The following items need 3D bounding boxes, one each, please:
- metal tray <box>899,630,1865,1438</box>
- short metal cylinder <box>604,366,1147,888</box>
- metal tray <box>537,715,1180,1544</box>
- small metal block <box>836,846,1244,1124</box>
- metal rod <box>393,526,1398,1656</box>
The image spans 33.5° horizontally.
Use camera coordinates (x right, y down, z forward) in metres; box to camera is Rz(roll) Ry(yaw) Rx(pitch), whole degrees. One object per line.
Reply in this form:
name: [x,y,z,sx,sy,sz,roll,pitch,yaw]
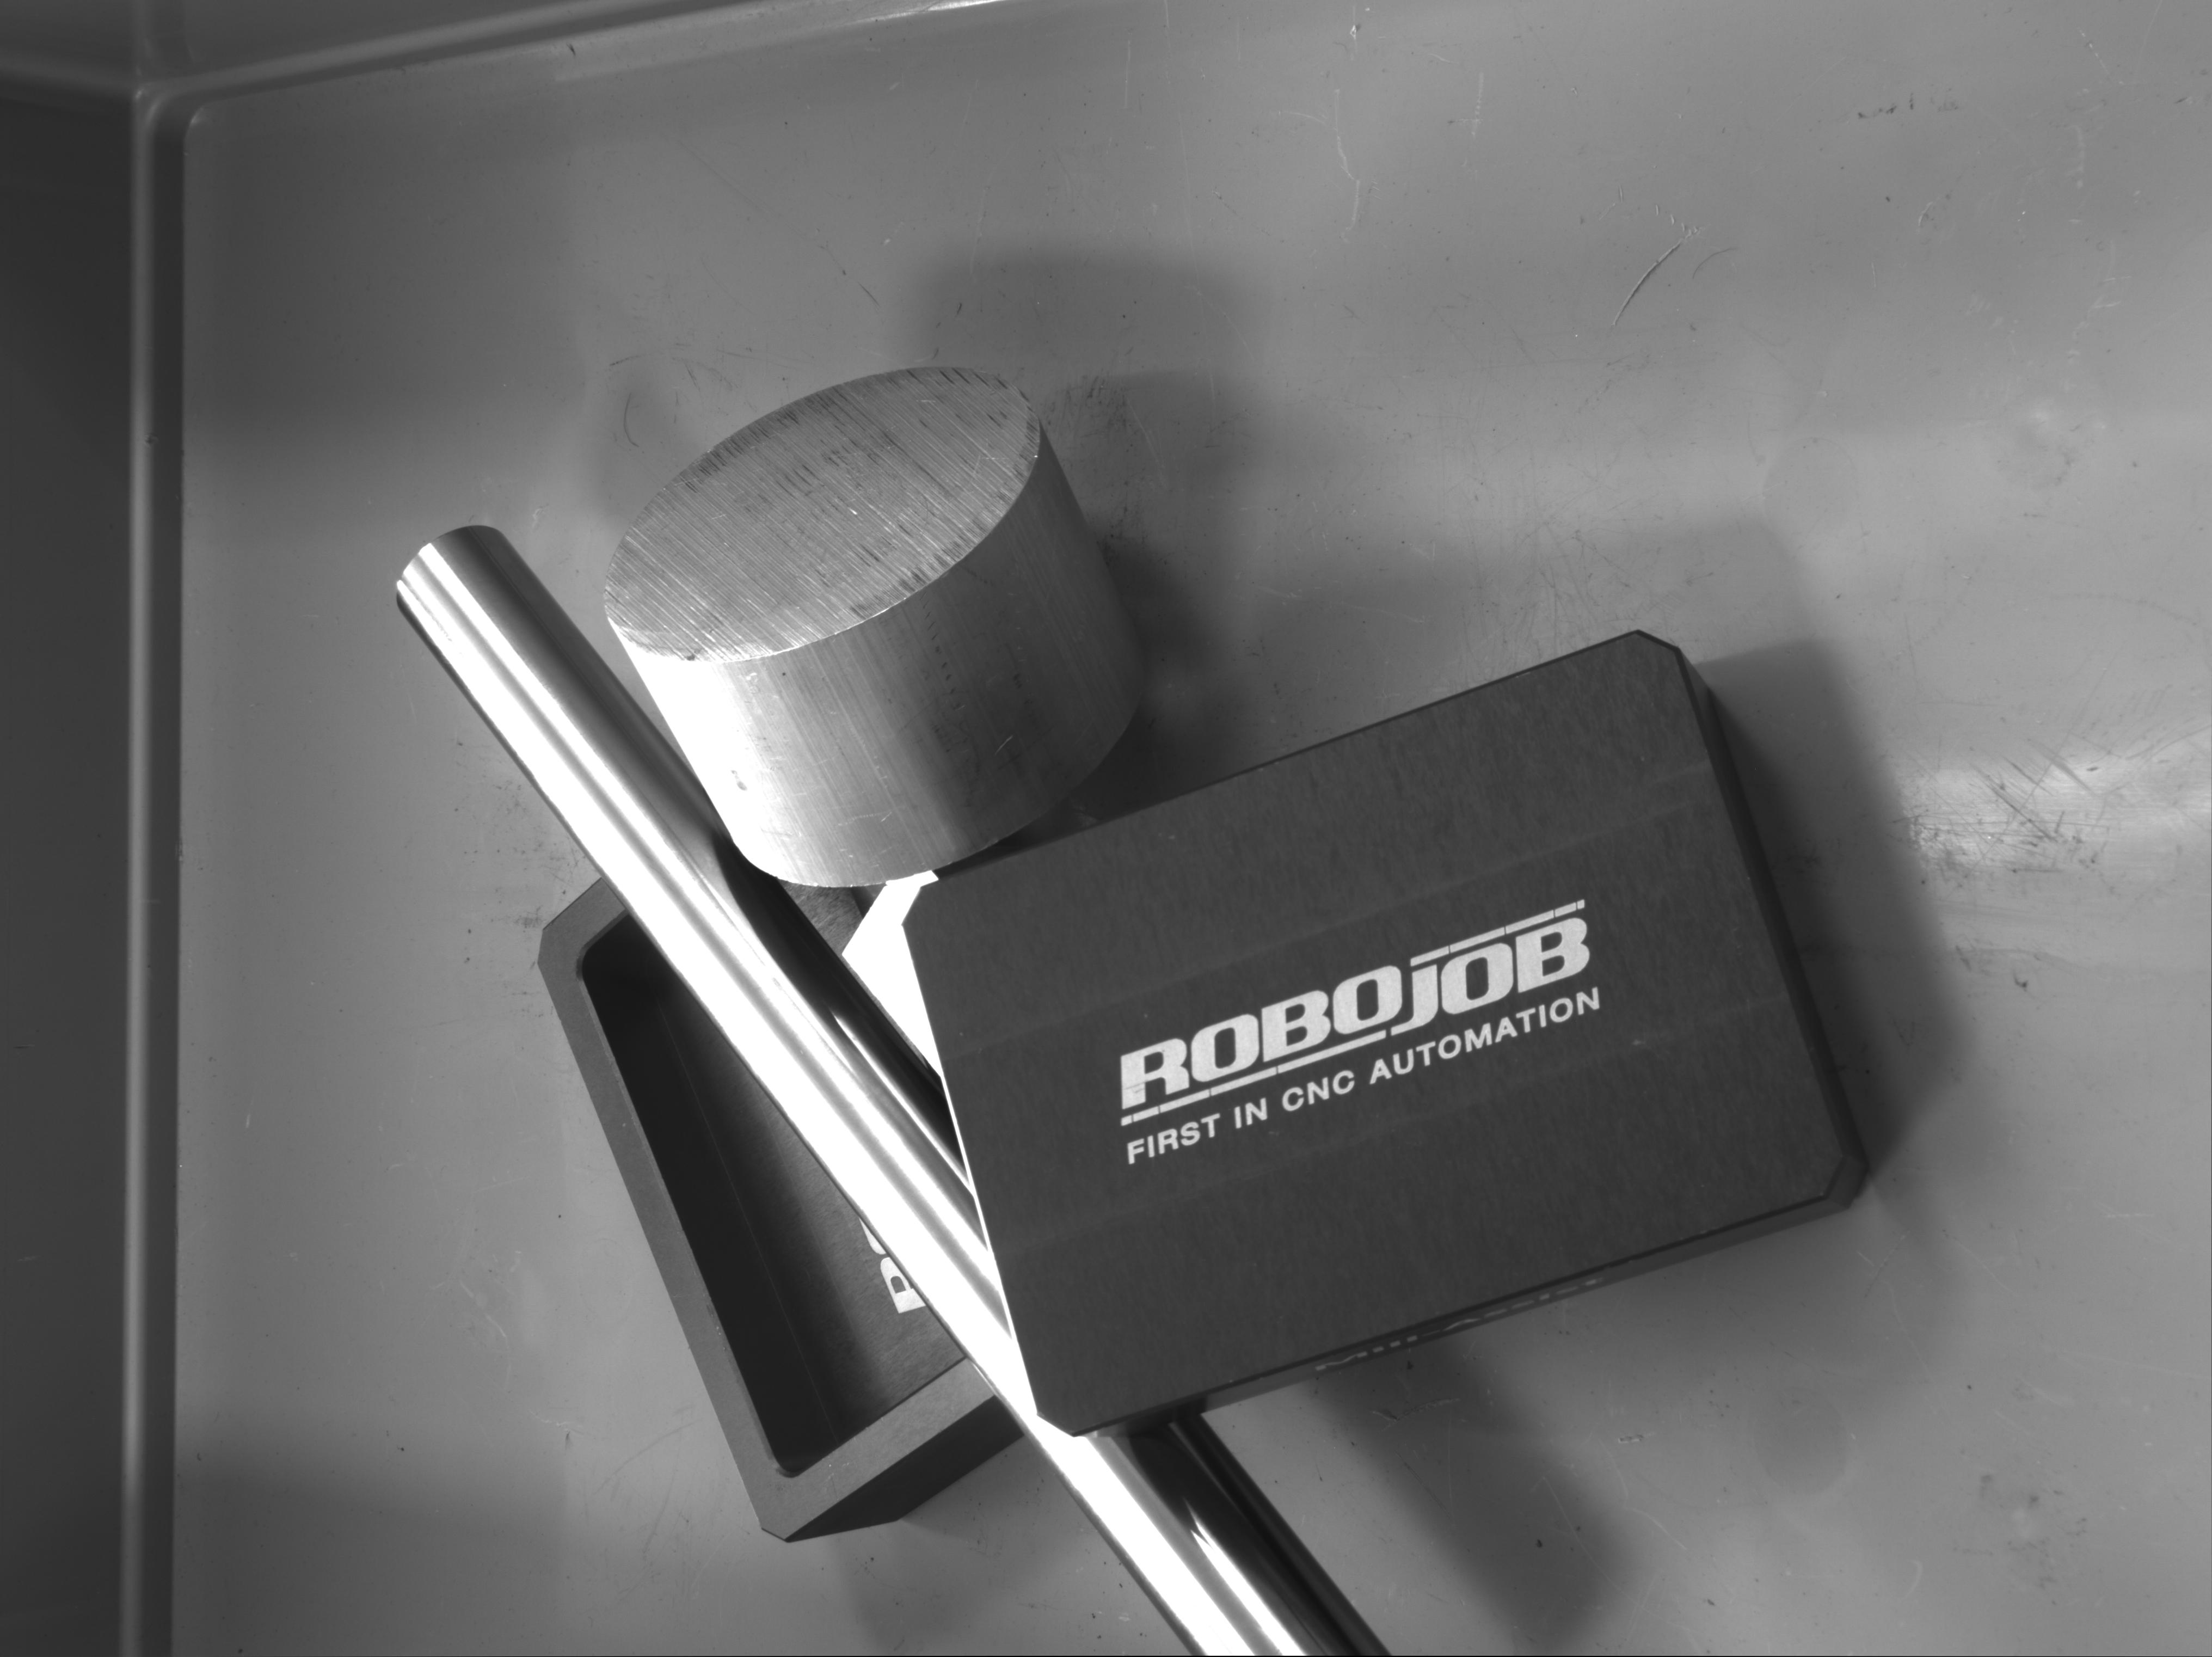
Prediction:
metal tray: [0.042,0.034,0.572,0.130,0.030,0.090,-20,76,13]
short metal cylinder: [-0.039,-0.035,0.633,0.080,0.080,0.050,11,139,40]
metal tray: [-0.049,0.054,0.681,0.090,0.030,0.130,-39,66,33]
small metal block: [-0.010,0.029,0.635,0.050,0.050,0.025,49,119,29]
metal rod: [-0.040,0.050,0.638,0.299,0.025,0.025,49,119,29]
